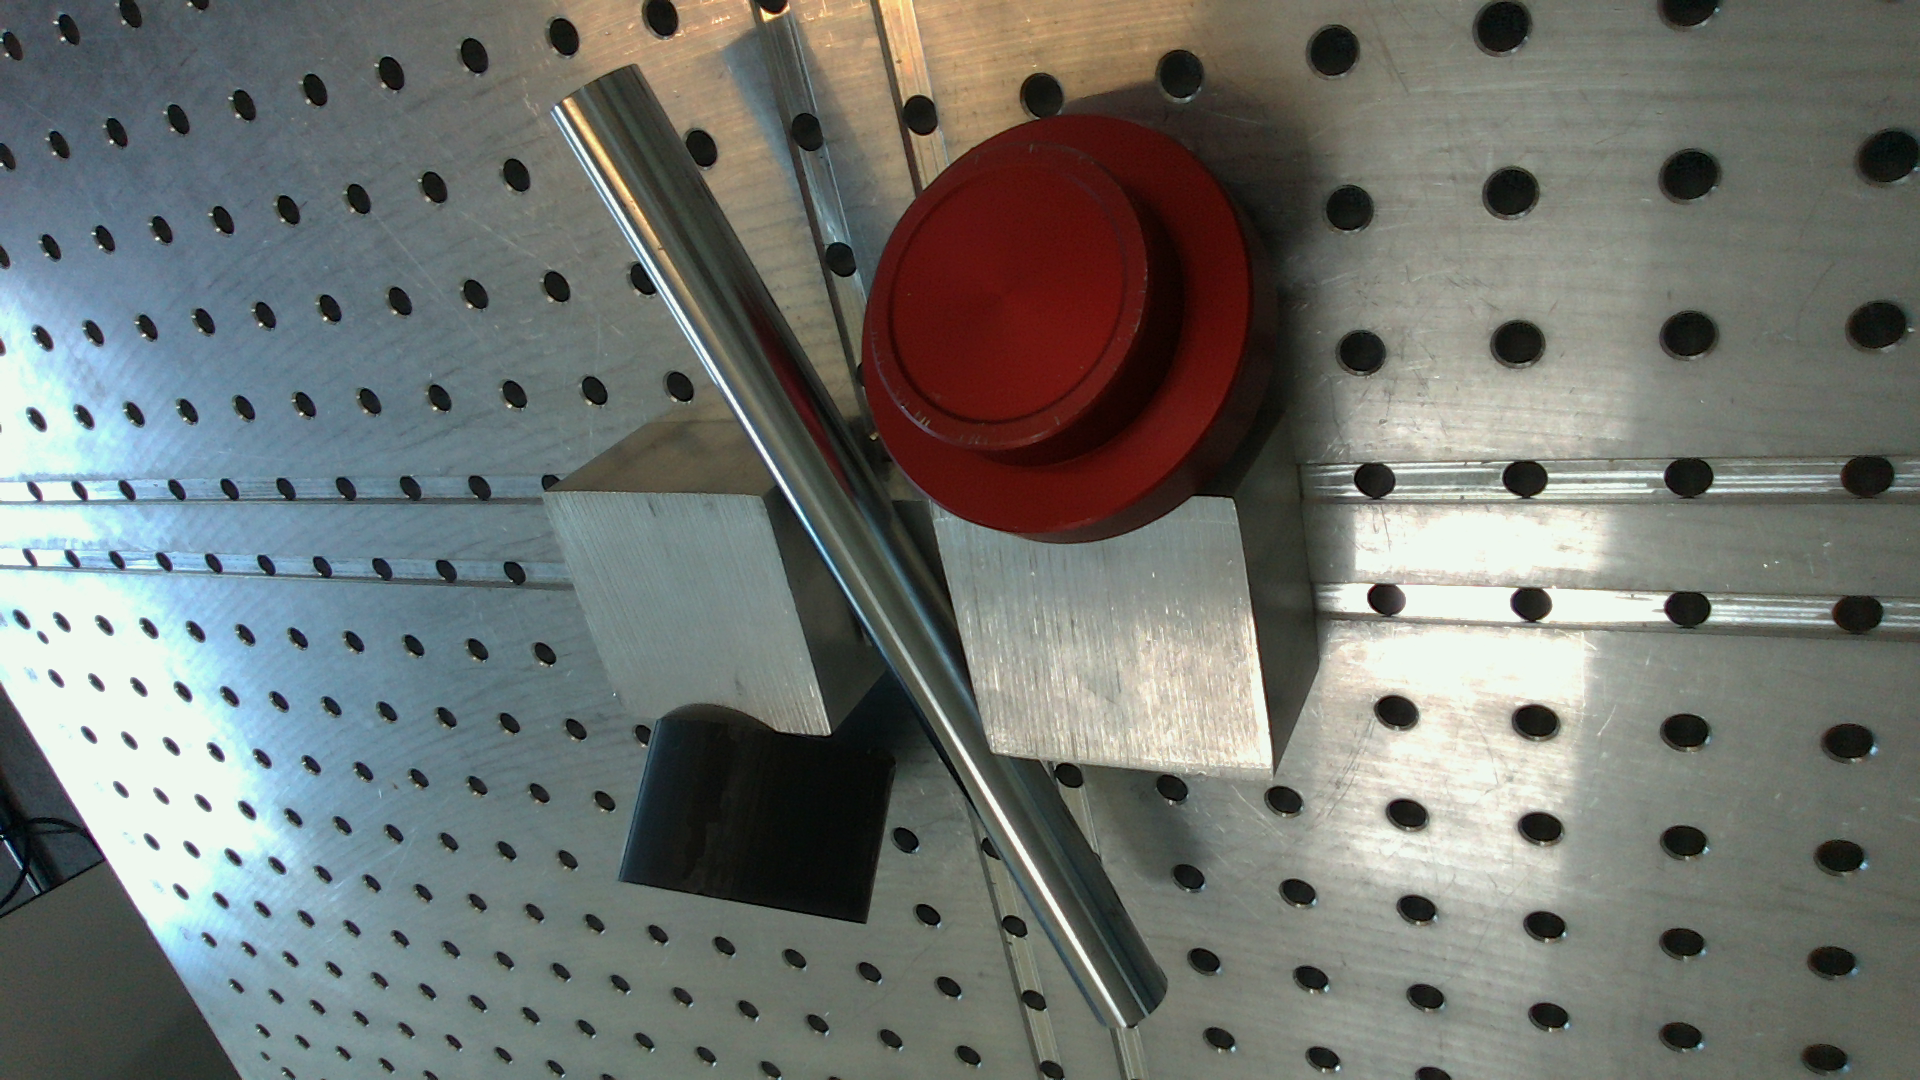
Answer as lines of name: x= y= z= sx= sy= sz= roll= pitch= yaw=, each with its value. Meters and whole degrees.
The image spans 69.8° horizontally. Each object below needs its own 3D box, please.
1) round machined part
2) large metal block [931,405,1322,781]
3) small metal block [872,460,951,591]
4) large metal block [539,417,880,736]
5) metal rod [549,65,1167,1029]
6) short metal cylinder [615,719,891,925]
round machined part: x=0.019 y=-0.050 z=0.312 sx=0.098 sy=0.042 sz=0.098 roll=-4 pitch=82 yaw=27
large metal block: x=0.046 y=0.012 z=0.364 sx=0.080 sy=0.050 sz=0.080 roll=1 pitch=119 yaw=28
small metal block: x=-0.007 y=0.004 z=0.403 sx=0.050 sy=0.025 sz=0.050 roll=1 pitch=119 yaw=28
large metal block: x=-0.070 y=0.009 z=0.424 sx=0.080 sy=0.050 sz=0.080 roll=2 pitch=119 yaw=27
metal rod: x=-0.020 y=0.014 z=0.381 sx=0.025 sy=0.025 sz=0.300 roll=-19 pitch=109 yaw=35
short metal cylinder: x=-0.065 y=0.091 z=0.443 sx=0.080 sy=0.050 sz=0.080 roll=9 pitch=164 yaw=3
